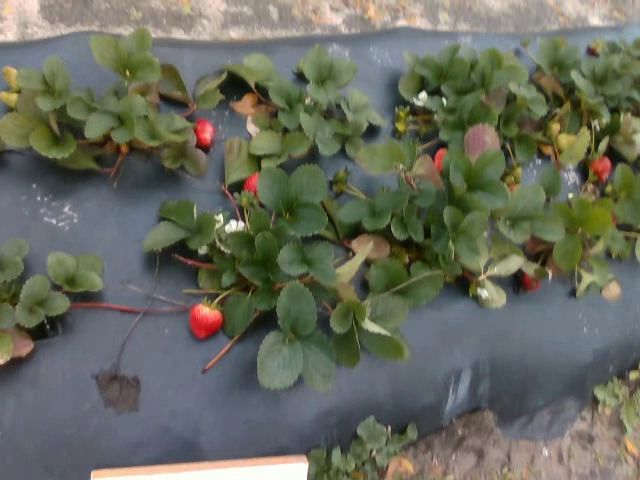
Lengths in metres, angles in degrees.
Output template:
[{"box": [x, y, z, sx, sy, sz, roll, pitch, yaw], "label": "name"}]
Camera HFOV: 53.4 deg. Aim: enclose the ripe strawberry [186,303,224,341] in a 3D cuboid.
[{"box": [-0.192, 0.133, 1.042, 0.061, 0.065, 0.049, 15, -1, -27], "label": "ripe strawberry"}]
